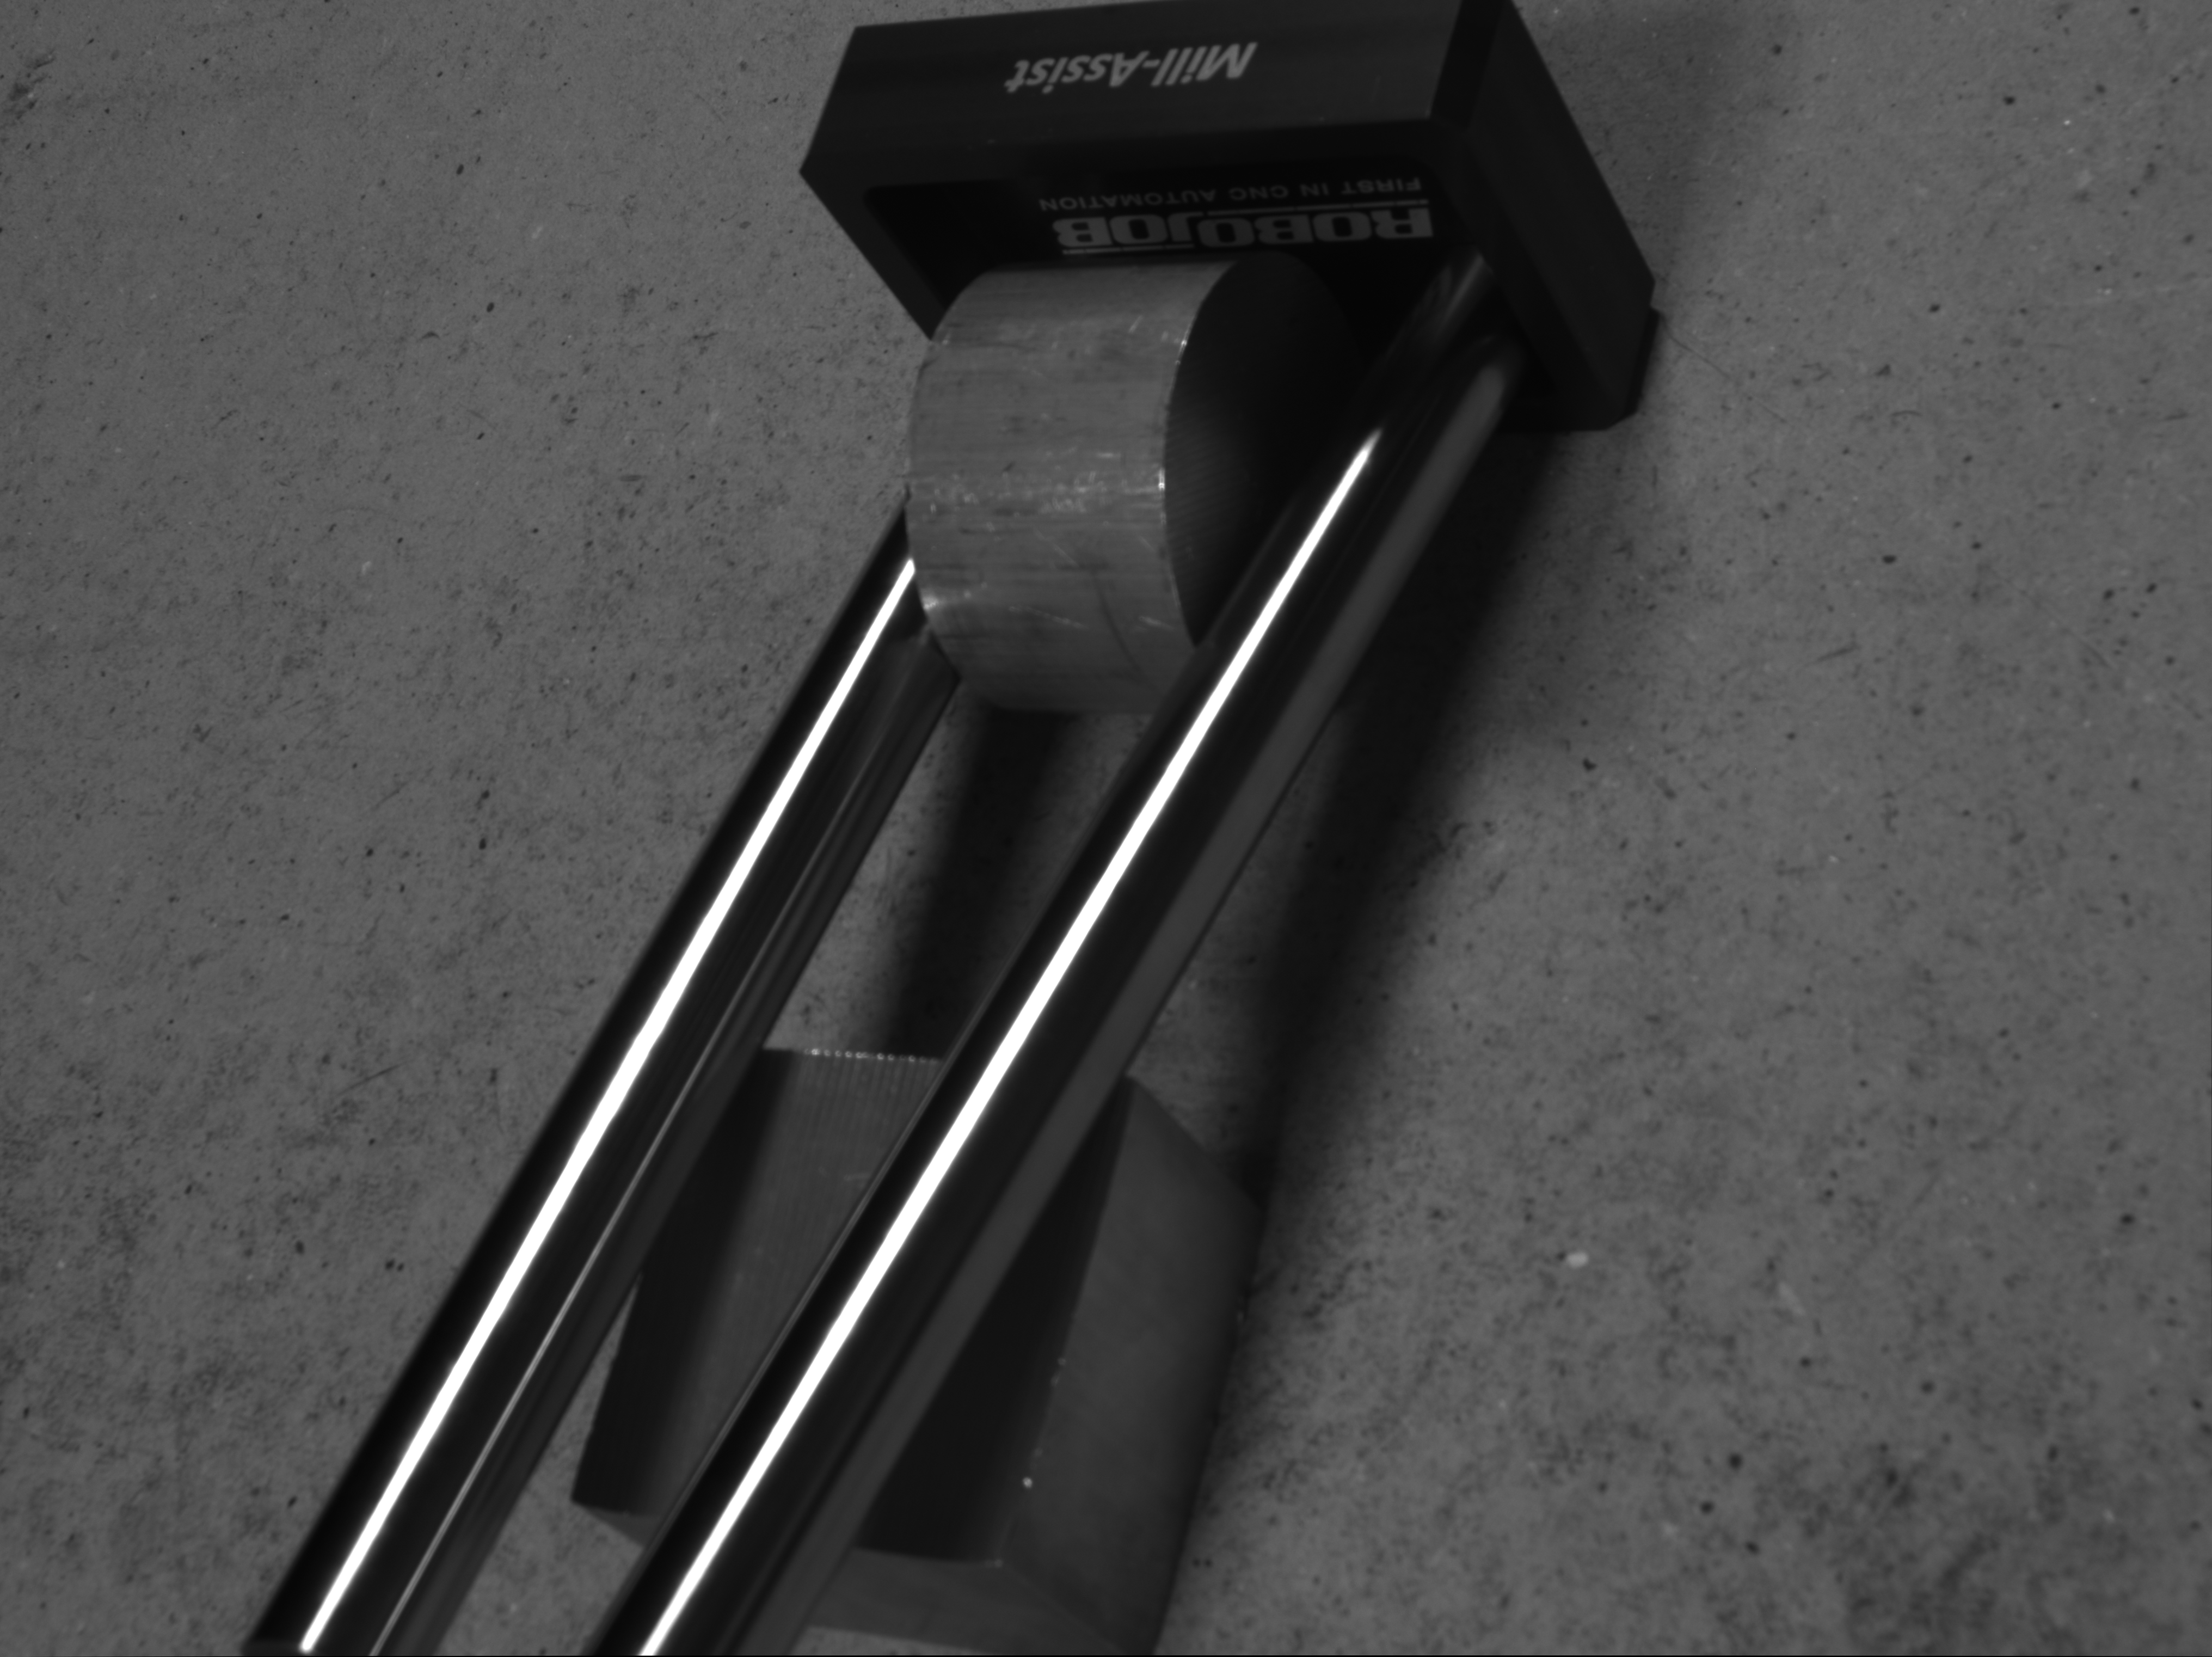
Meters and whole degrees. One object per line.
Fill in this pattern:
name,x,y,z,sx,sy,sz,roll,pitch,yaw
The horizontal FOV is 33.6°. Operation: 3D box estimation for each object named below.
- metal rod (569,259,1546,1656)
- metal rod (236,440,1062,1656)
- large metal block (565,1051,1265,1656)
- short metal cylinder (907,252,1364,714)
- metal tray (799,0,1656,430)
metal rod,0.002,0.016,0.573,0.025,0.025,0.300,9,51,32
metal rod,-0.059,0.013,0.609,0.025,0.025,0.300,2,47,29
large metal block,-0.029,0.084,0.589,0.080,0.050,0.080,2,62,29
short metal cylinder,0.008,-0.060,0.642,0.050,0.080,0.080,2,63,29
metal tray,0.022,-0.108,0.657,0.130,0.090,0.030,2,63,29
